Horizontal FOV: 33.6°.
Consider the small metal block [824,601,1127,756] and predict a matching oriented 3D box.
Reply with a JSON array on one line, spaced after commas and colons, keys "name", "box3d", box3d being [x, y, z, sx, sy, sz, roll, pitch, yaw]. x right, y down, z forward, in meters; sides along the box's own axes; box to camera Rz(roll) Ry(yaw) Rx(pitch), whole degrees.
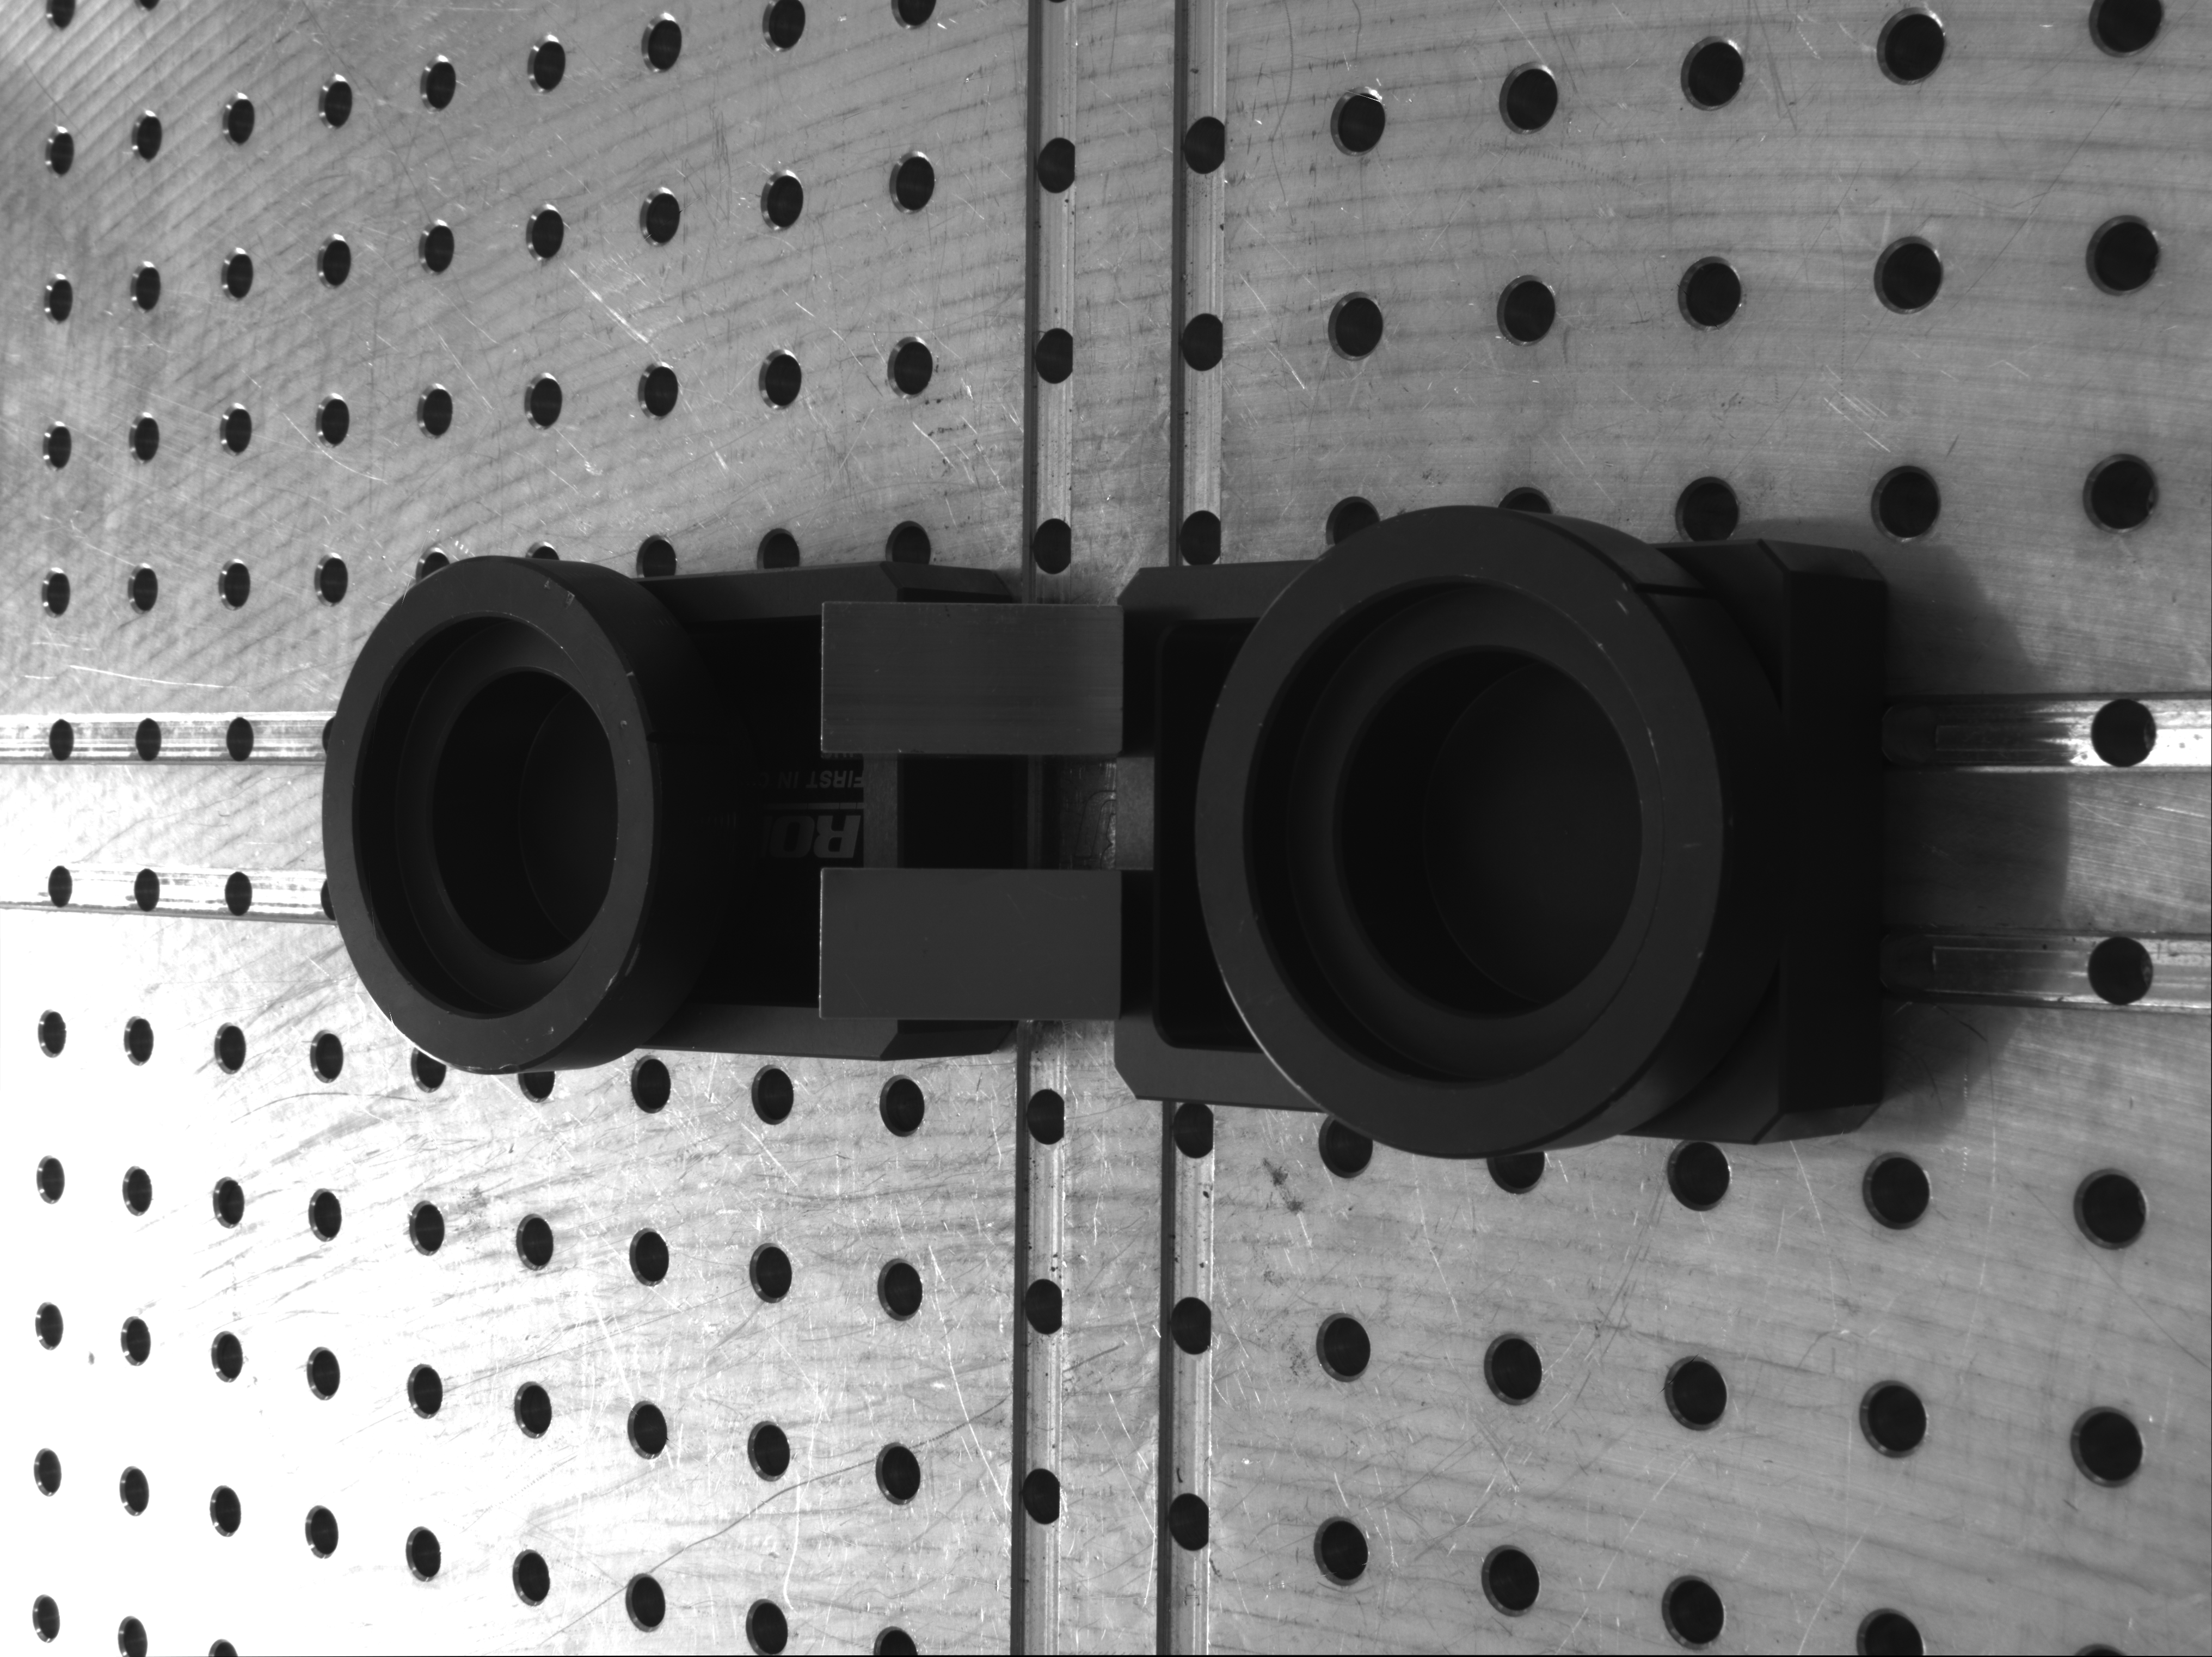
[{"name": "small metal block", "box3d": [-0.024, -0.025, 0.633, 0.050, 0.050, 0.025, -176, 86, -85]}]

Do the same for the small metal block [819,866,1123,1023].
[{"name": "small metal block", "box3d": [-0.024, 0.020, 0.633, 0.050, 0.050, 0.025, -176, 86, -85]}]

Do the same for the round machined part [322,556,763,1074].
[{"name": "round machined part", "box3d": [-0.104, -0.003, 0.709, 0.098, 0.042, 0.098, 0, 90, 40]}]

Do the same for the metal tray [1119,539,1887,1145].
[{"name": "metal tray", "box3d": [0.061, 0.001, 0.594, 0.129, 0.030, 0.090, 1, 91, 40]}]

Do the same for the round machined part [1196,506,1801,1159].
[{"name": "round machined part", "box3d": [0.065, 0.001, 0.566, 0.098, 0.042, 0.098, 0, 90, 40]}]

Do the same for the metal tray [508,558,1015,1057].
[{"name": "metal tray", "box3d": [-0.076, -0.003, 0.710, 0.129, 0.030, 0.090, -1, 91, 40]}]
